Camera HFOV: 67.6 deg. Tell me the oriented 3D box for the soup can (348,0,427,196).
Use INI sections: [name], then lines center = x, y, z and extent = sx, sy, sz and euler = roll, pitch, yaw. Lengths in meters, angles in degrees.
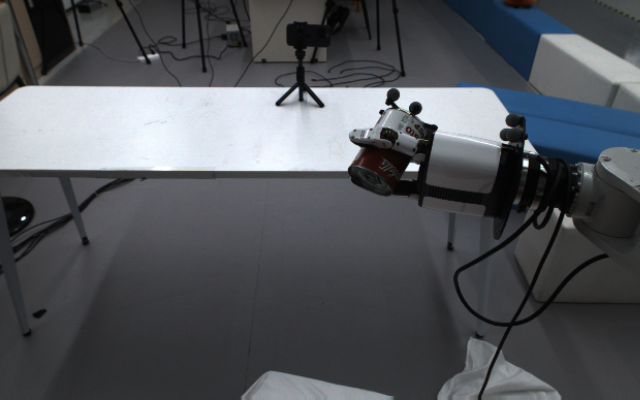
[soup can]
center = 0.093, -0.066, 0.651
extent = 0.067, 0.067, 0.101
euler = 24, 73, 28
